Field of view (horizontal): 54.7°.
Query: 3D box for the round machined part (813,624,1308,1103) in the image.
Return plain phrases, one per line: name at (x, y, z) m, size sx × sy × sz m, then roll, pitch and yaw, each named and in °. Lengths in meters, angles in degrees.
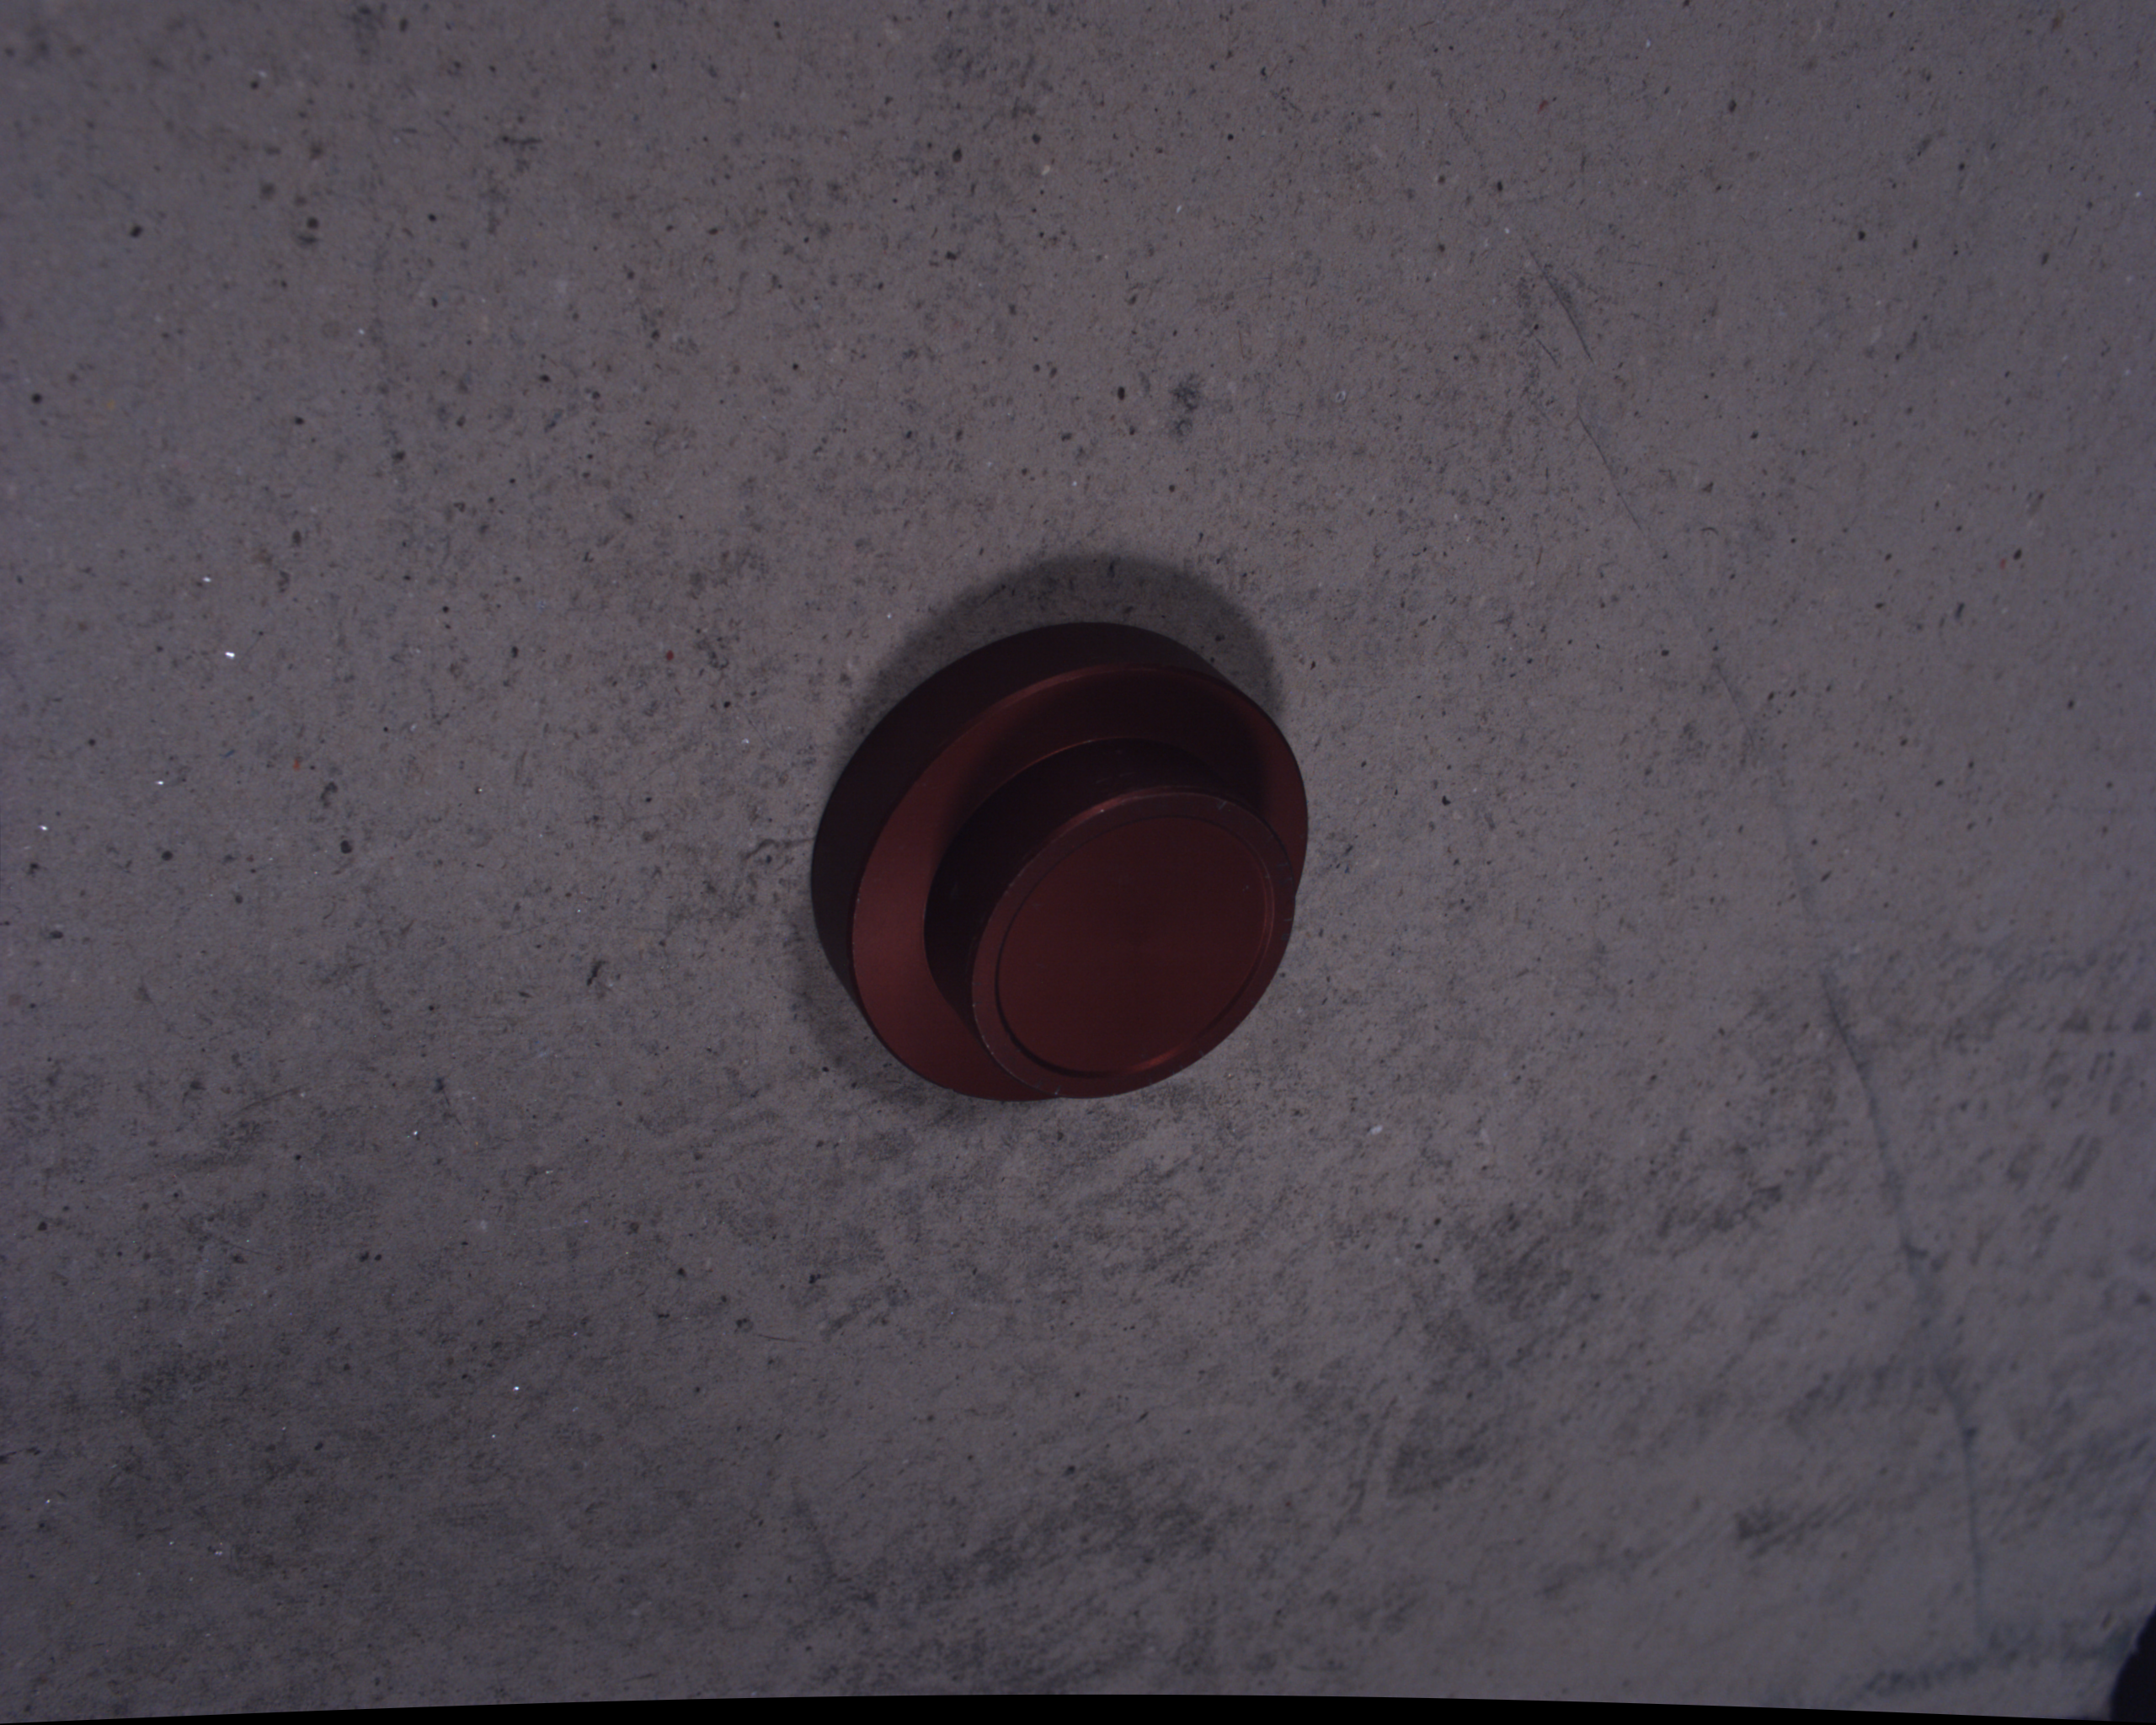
round machined part at (0.002, 0.007, 0.404) m, size 0.099 × 0.042 × 0.097 m, roll -14°, pitch 125°, yaw -21°
